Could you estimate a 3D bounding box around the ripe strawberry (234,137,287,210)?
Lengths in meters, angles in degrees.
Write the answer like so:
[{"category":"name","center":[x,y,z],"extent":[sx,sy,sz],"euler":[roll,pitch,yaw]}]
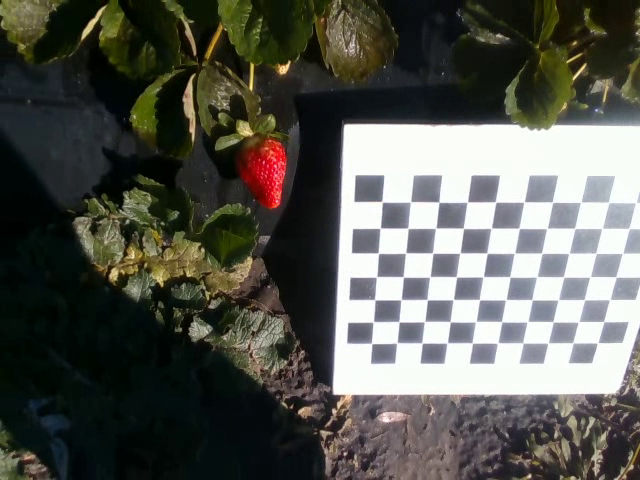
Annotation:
[{"category":"ripe strawberry","center":[-0.046,-0.054,0.493],"extent":[0.048,0.069,0.040],"euler":[-16,19,6]}]
